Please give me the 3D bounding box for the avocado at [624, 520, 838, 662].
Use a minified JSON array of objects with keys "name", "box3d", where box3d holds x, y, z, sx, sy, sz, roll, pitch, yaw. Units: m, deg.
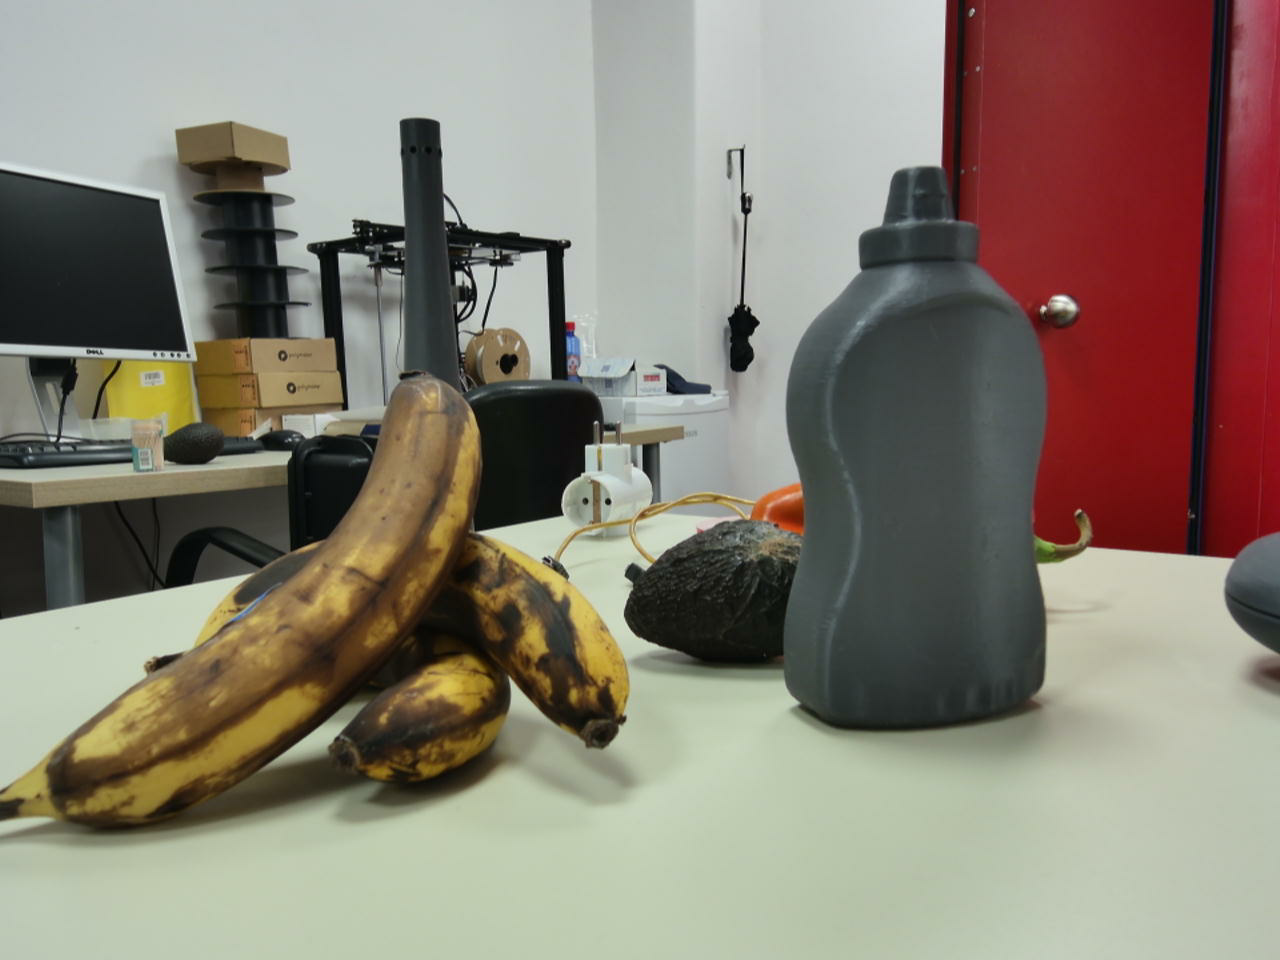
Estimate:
[{"name":"avocado","box3d":[0.041,0.048,0.443,0.092,0.062,0.062,2,4,13]}]
